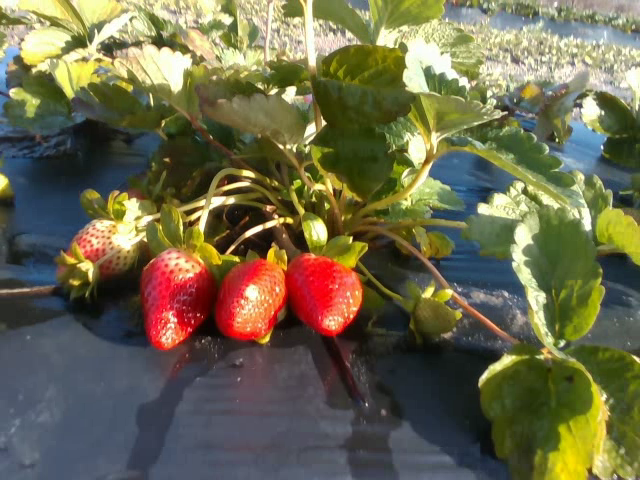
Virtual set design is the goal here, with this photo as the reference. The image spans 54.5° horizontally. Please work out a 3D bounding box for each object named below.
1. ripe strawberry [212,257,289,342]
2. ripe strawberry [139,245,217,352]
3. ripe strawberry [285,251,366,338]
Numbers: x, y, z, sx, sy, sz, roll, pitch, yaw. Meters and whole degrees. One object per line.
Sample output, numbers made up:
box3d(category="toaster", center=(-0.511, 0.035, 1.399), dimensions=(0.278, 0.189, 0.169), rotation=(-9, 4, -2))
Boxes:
box3d(category="ripe strawberry", center=(-0.027, 0.020, 0.230), dimensions=(0.030, 0.037, 0.039), rotation=(14, 0, 3))
box3d(category="ripe strawberry", center=(-0.056, 0.021, 0.234), dimensions=(0.031, 0.046, 0.023), rotation=(5, -41, -2))
box3d(category="ripe strawberry", center=(0.002, 0.025, 0.234), dimensions=(0.035, 0.034, 0.041), rotation=(1, 13, -4))
